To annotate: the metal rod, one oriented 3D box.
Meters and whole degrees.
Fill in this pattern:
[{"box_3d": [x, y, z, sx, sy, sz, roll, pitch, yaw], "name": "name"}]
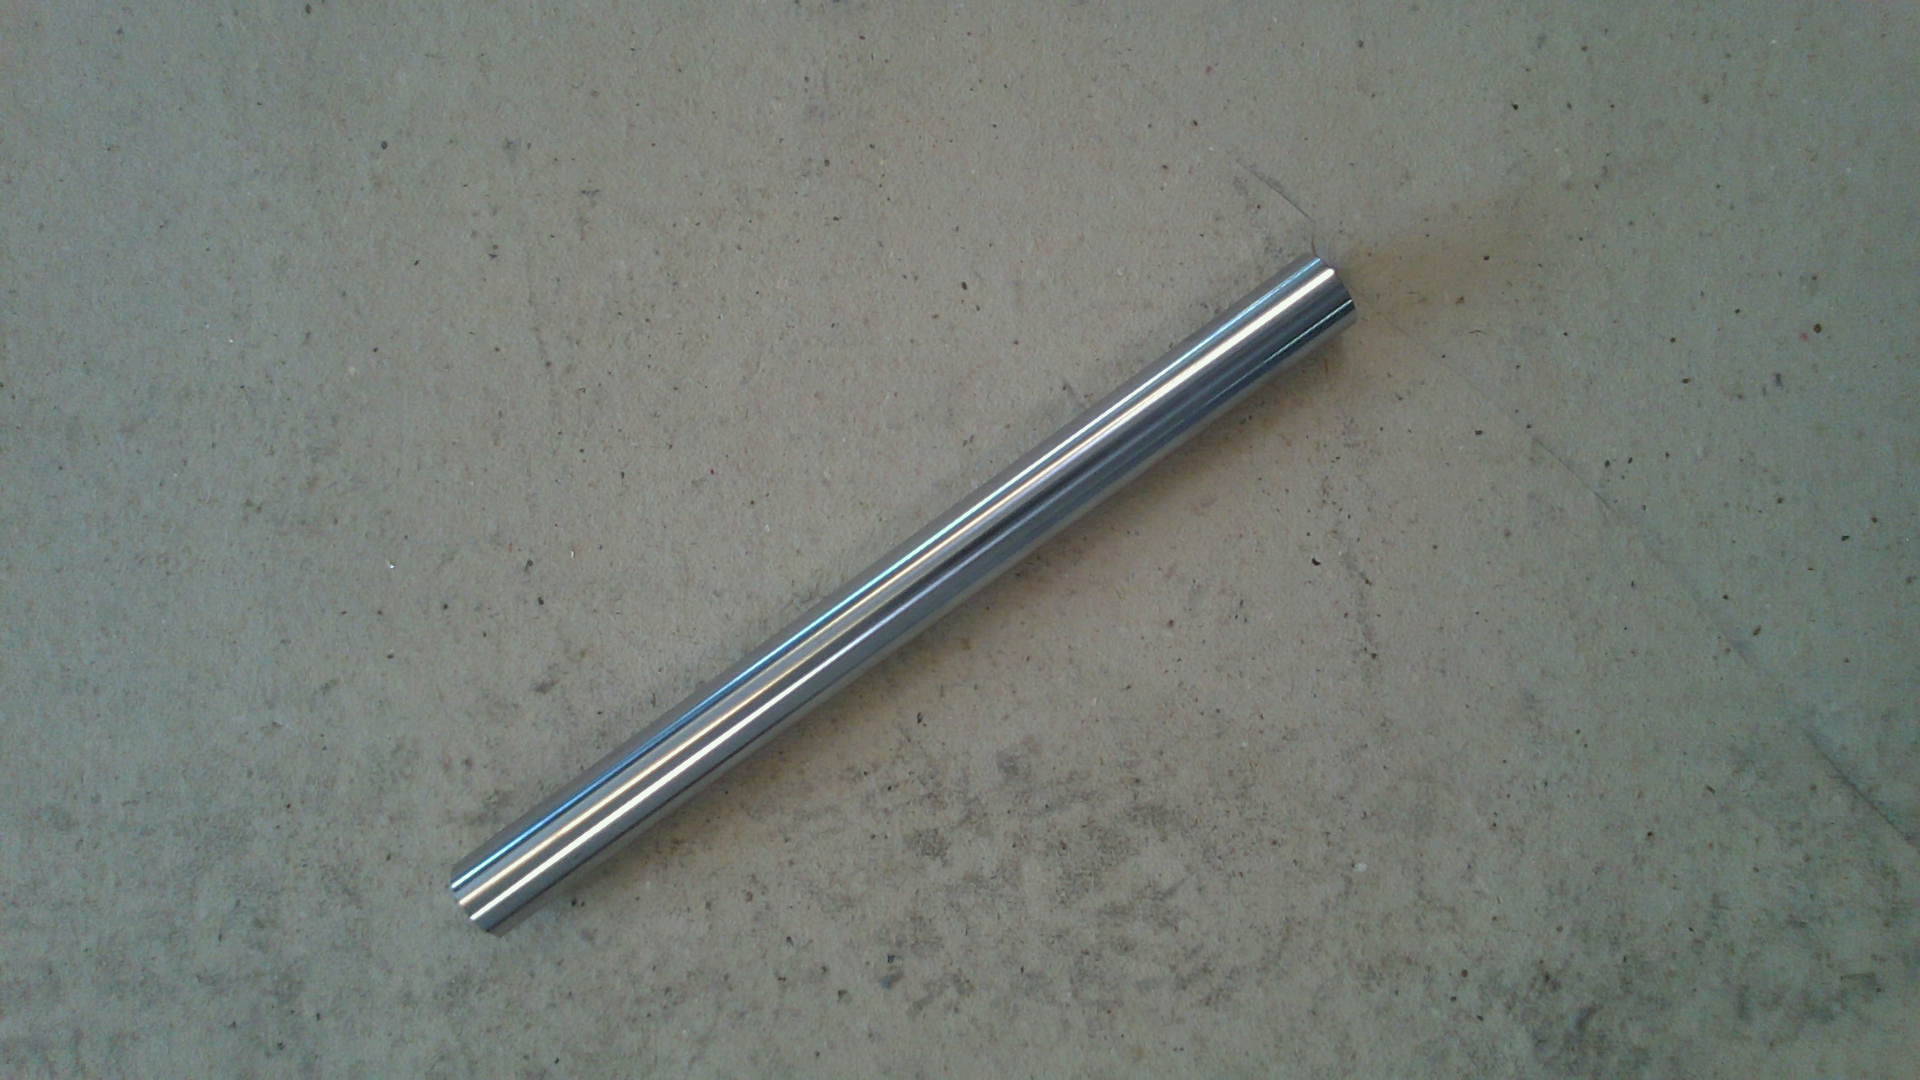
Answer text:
[{"box_3d": [-0.017, 0.015, 0.396, 0.300, 0.025, 0.025, -36, 90, 0], "name": "metal rod"}]
